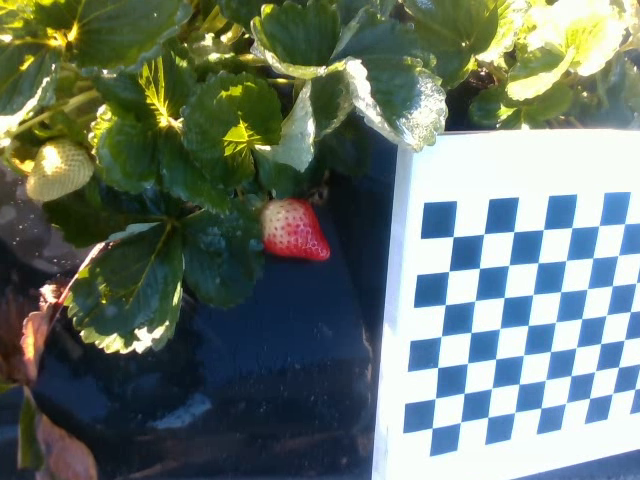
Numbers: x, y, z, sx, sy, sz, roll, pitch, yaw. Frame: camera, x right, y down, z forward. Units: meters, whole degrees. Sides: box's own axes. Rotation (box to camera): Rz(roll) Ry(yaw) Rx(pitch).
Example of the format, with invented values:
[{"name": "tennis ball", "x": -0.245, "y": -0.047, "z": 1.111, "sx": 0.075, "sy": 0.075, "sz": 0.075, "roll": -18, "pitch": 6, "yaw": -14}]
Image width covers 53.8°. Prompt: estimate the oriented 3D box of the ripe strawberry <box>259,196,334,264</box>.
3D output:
[{"name": "ripe strawberry", "x": -0.016, "y": 0.001, "z": 0.425, "sx": 0.065, "sy": 0.040, "sz": 0.040, "roll": 40, "pitch": -2, "yaw": -26}]
